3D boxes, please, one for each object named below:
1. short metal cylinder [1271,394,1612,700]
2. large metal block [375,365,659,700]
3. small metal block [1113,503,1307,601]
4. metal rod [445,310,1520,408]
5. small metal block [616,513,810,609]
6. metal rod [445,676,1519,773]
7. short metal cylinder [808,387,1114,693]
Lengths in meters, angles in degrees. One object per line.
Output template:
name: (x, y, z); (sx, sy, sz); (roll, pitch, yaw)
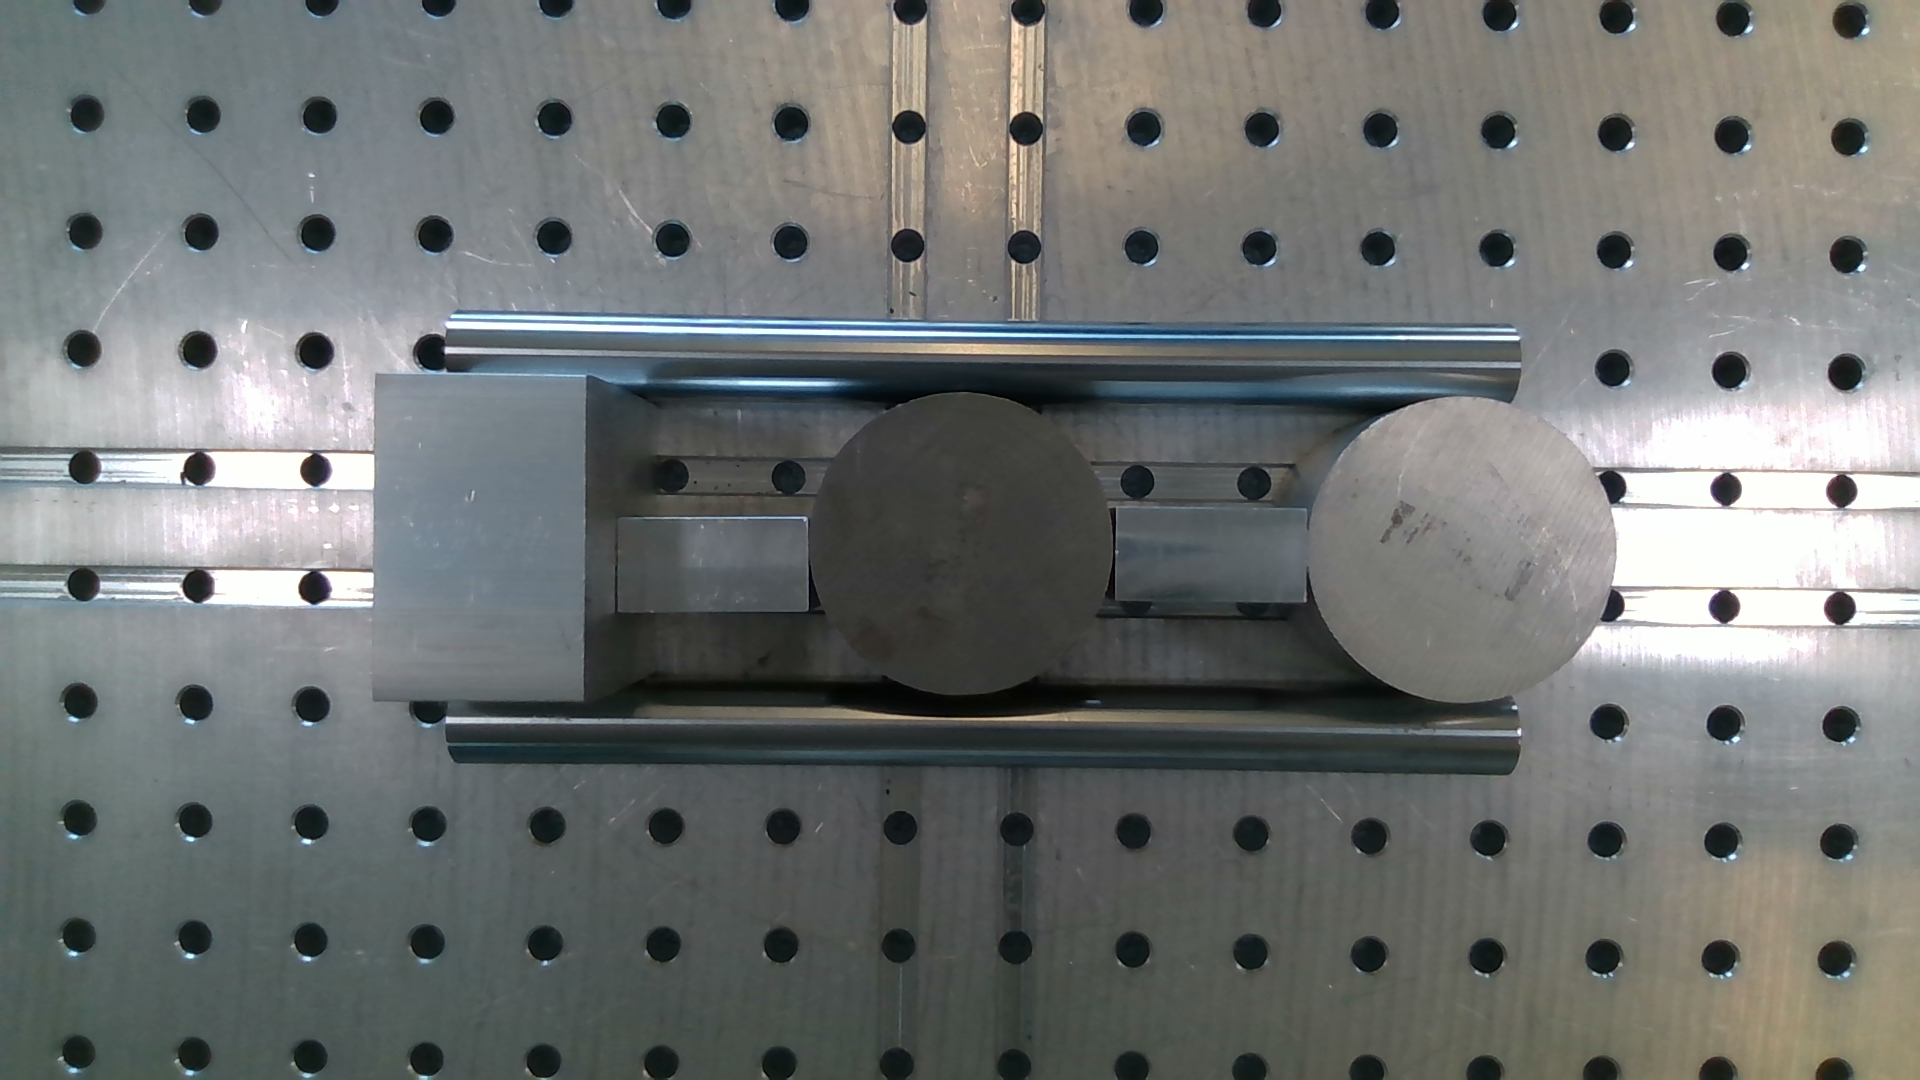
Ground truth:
short metal cylinder: (0.131, 0.002, 0.385); (0.080, 0.050, 0.080); (0, 90, 0)
large metal block: (-0.115, -0.002, 0.370); (0.050, 0.080, 0.080); (1, 90, 0)
small metal block: (0.066, 0.003, 0.384); (0.050, 0.050, 0.025); (1, 90, 0)
metal rod: (0.006, -0.052, 0.397); (0.300, 0.025, 0.025); (1, 90, 0)
small metal block: (-0.065, 0.006, 0.384); (0.050, 0.050, 0.025); (0, 90, 0)
metal rod: (0.006, 0.053, 0.397); (0.300, 0.025, 0.025); (1, 90, 0)
short metal cylinder: (0.000, 0.000, 0.385); (0.080, 0.050, 0.080); (0, 90, 0)
